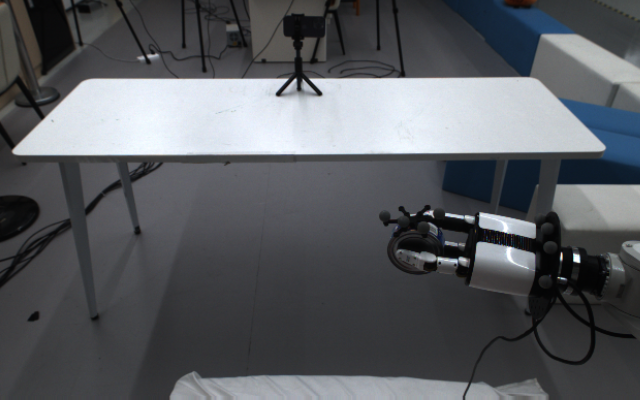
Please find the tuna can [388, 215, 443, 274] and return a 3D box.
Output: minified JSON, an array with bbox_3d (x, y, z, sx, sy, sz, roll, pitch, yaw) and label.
[{"bbox_3d":[0.150,0.071,0.743,0.085,0.085,0.034,10,33,11],"label":"tuna can"}]
